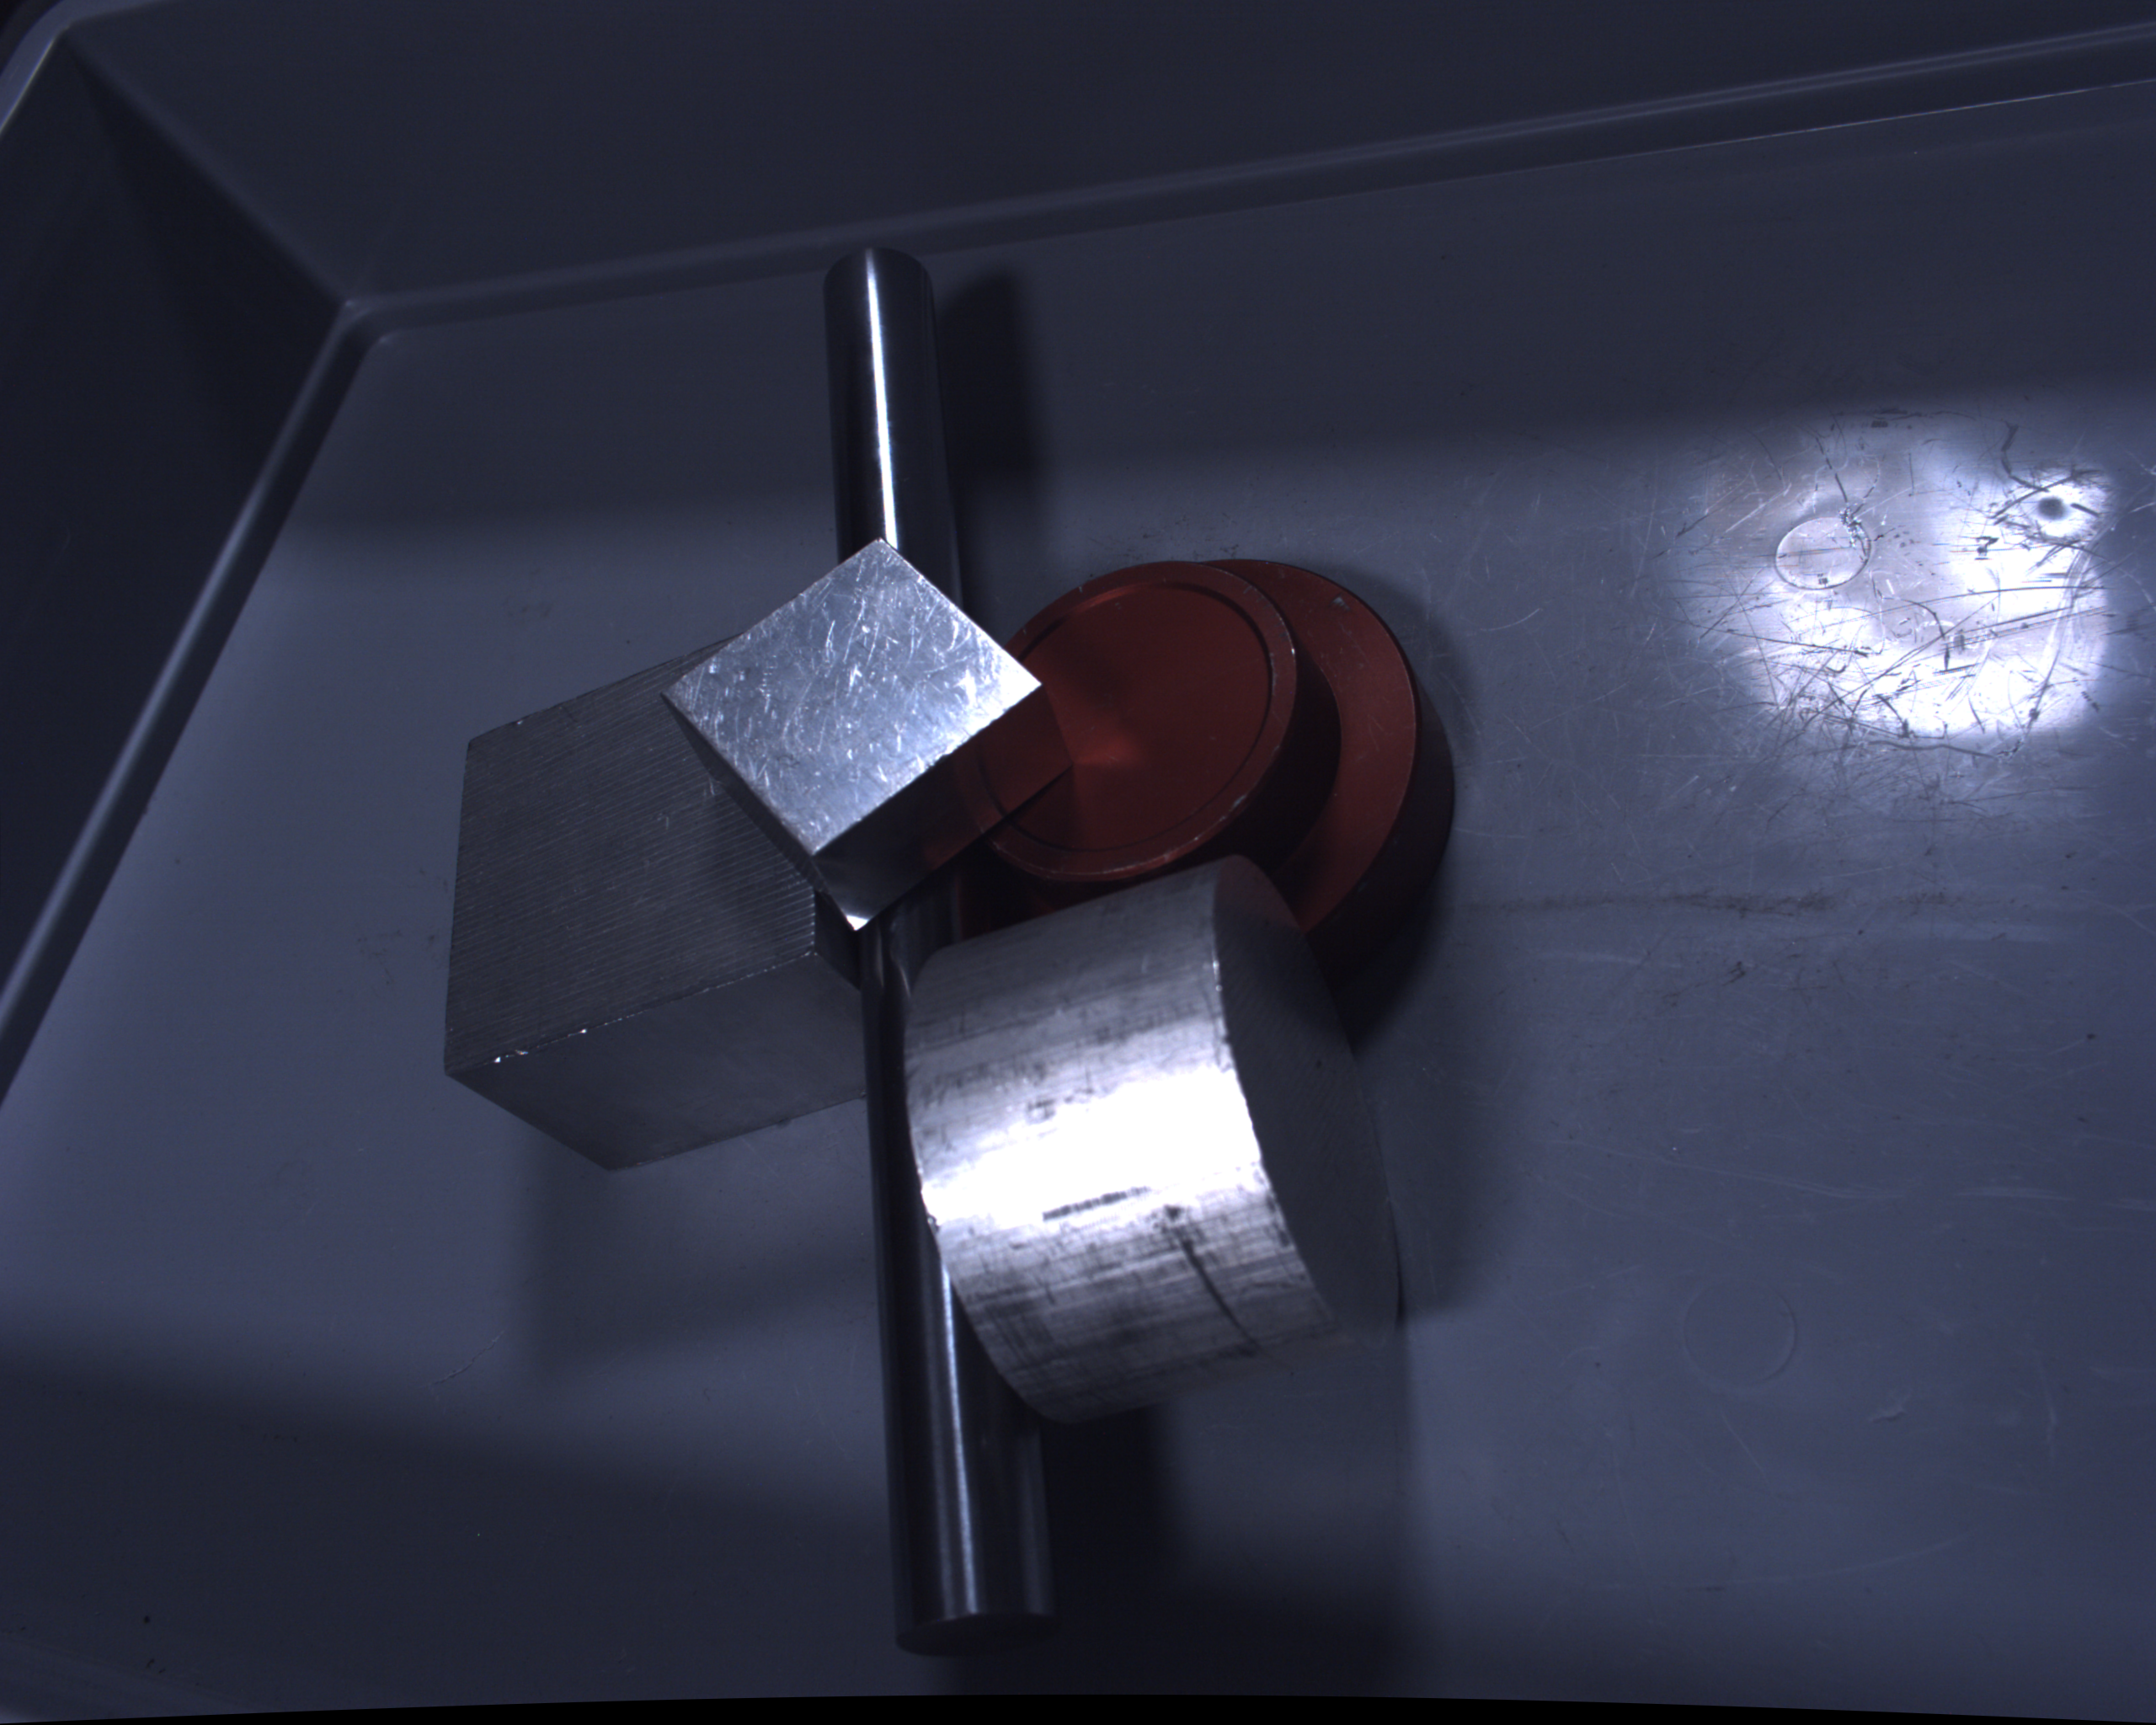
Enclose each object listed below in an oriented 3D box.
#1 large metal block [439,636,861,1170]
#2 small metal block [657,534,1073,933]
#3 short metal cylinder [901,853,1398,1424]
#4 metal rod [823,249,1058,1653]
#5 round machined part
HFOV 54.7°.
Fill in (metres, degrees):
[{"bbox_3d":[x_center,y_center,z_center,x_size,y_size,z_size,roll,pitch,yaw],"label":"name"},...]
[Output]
[{"bbox_3d":[-0.076,0.006,0.419,0.080,0.050,0.080,-19,55,17],"label":"large metal block"},{"bbox_3d":[-0.038,-0.024,0.375,0.050,0.025,0.050,-38,57,-12],"label":"small metal block"},{"bbox_3d":[0.013,0.044,0.333,0.050,0.080,0.080,-19,55,17],"label":"short metal cylinder"},{"bbox_3d":[-0.031,-0.008,0.396,0.025,0.025,0.299,-19,54,17],"label":"metal rod"},{"bbox_3d":[0.017,-0.018,0.393,0.098,0.042,0.098,-13,56,20],"label":"round machined part"}]
